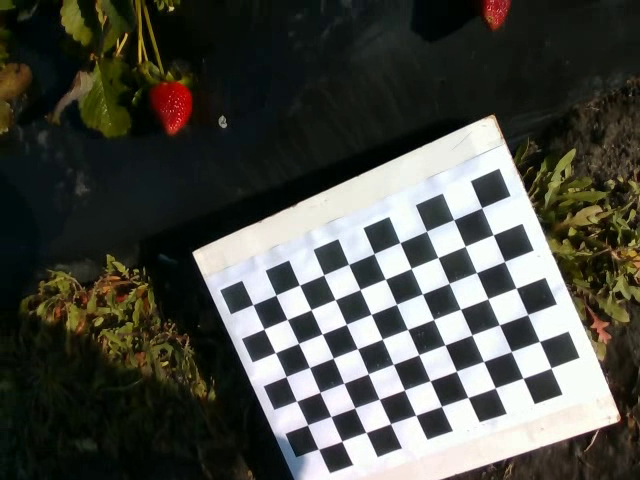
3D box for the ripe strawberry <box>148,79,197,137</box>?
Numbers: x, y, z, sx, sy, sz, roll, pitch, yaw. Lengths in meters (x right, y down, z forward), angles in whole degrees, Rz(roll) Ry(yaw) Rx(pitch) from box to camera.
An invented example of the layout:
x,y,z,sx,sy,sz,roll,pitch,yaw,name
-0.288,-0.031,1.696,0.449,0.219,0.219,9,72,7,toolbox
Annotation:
x,y,z,sx,sy,sz,roll,pitch,yaw,name
-0.127,-0.107,0.503,0.045,0.055,0.042,-15,-28,7,ripe strawberry
